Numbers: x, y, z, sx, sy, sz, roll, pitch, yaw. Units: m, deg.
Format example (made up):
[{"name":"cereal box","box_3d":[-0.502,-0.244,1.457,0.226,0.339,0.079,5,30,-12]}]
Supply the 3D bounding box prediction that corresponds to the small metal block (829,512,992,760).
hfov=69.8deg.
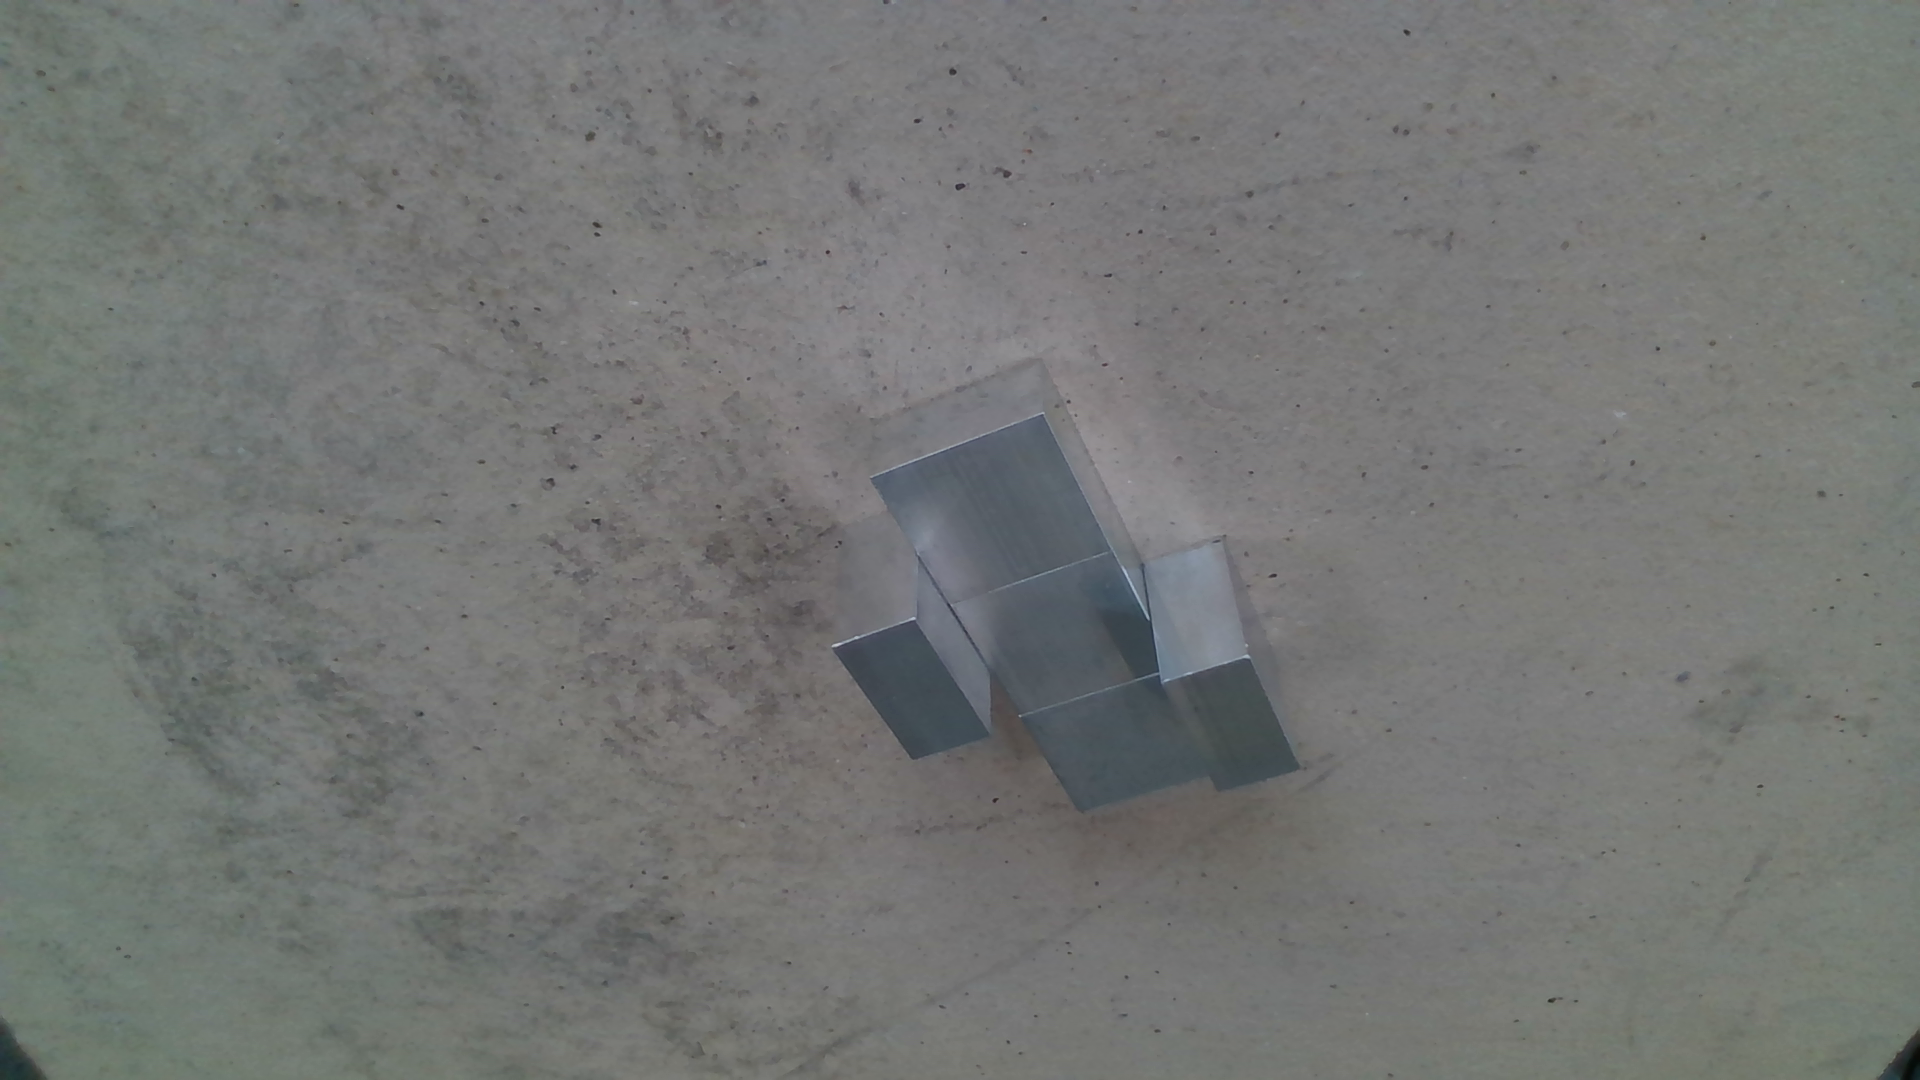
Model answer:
[{"name":"small metal block","box_3d":[-0.013,0.025,0.394,0.025,0.050,0.050,-20,127,15]}]

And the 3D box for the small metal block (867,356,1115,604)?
[{"name":"small metal block","box_3d":[0.009,-0.015,0.375,0.050,0.025,0.050,-19,128,16]}]

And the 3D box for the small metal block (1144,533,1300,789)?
[{"name":"small metal block","box_3d":[0.076,0.035,0.403,0.025,0.050,0.050,-19,127,15]}]

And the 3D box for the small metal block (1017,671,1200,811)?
[{"name":"small metal block","box_3d":[0.051,0.054,0.435,0.050,0.025,0.050,-19,128,16]}]

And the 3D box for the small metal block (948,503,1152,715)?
[{"name":"small metal block","box_3d":[0.030,0.020,0.405,0.050,0.025,0.050,-19,128,16]}]
